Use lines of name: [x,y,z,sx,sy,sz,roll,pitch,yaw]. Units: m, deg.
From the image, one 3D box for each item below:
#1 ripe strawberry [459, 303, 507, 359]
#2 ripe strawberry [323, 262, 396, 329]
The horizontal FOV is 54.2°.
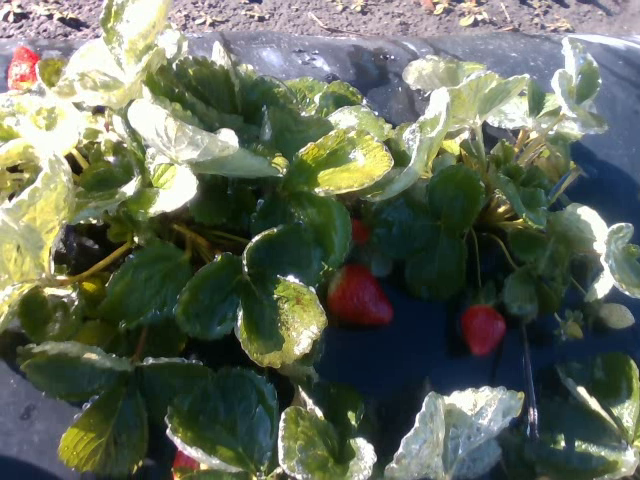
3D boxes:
ripe strawberry: [0.122,0.070,0.458,0.039,0.047,0.040,30,-25,-19]
ripe strawberry: [0.033,0.044,0.436,0.056,0.044,0.040,41,-18,-16]
